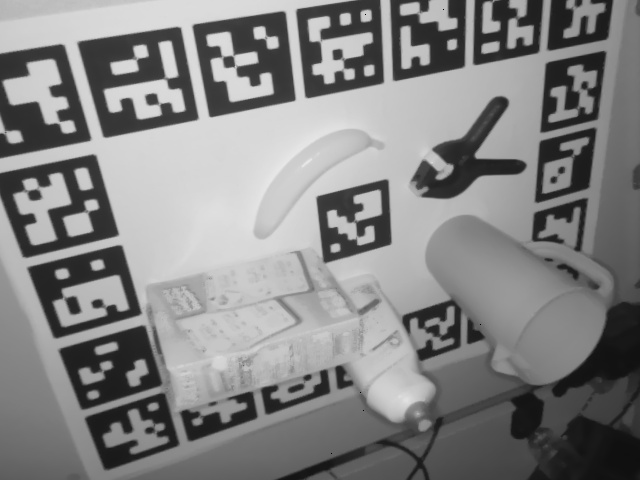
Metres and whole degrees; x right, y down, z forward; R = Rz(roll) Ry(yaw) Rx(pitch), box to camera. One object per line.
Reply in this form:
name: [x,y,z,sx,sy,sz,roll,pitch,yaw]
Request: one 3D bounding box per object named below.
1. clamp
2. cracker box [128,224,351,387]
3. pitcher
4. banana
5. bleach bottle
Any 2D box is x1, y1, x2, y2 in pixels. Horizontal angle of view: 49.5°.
clamp: [0.188,-0.126,0.892,0.166,0.036,0.121,-27,125,-6]
cracker box: [-0.093,0.065,0.783,0.216,0.164,0.071,-12,124,-18]
pitcher: [0.248,0.043,0.858,0.189,0.242,0.133,-28,124,-3]
banana: [-0.024,-0.102,0.825,0.197,0.039,0.074,-42,125,2]
bleach bottle: [0.067,0.109,0.840,0.104,0.250,0.067,-13,122,-15]
